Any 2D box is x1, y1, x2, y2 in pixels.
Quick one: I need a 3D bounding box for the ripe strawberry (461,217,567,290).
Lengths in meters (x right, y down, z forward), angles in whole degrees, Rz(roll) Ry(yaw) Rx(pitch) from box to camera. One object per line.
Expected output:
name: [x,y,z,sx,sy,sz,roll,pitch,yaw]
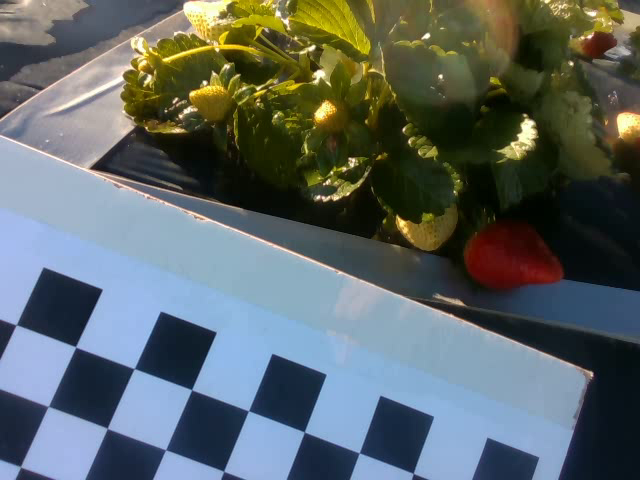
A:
ripe strawberry: [0.101,0.010,0.314,0.049,0.045,0.063,50,-9,-28]
